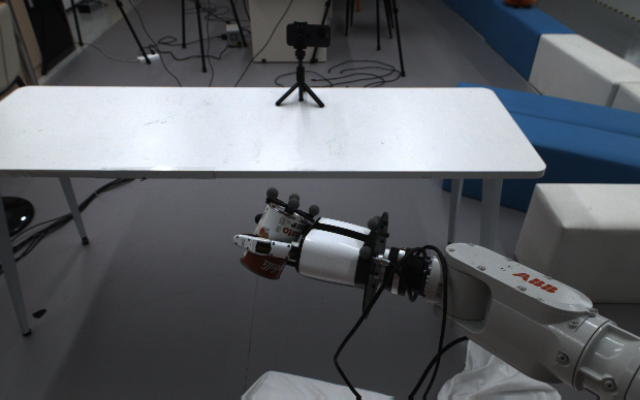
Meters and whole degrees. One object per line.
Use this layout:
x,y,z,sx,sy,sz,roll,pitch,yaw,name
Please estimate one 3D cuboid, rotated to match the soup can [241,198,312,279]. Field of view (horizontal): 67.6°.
-0.069,0.062,0.736,0.067,0.101,0.067,27,6,-3,soup can
